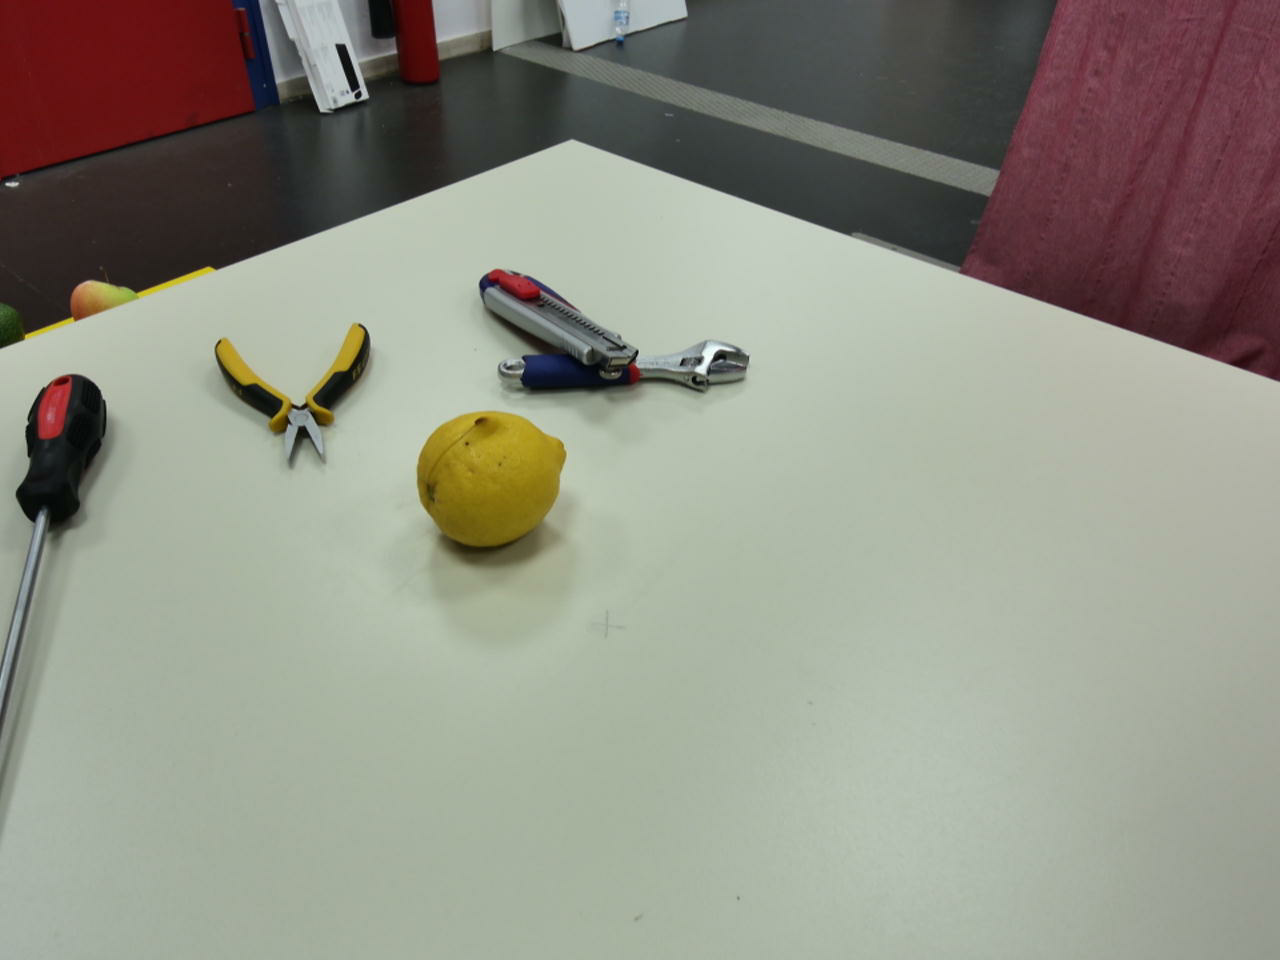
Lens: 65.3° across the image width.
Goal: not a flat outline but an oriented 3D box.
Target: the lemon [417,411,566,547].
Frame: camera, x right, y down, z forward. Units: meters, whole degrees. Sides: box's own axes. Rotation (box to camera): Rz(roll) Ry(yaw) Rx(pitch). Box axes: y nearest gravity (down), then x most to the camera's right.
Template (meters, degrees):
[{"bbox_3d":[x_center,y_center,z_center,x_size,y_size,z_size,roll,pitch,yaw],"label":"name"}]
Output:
[{"bbox_3d":[-0.077,-0.004,0.502,0.071,0.071,0.070,4,37,5],"label":"lemon"}]
